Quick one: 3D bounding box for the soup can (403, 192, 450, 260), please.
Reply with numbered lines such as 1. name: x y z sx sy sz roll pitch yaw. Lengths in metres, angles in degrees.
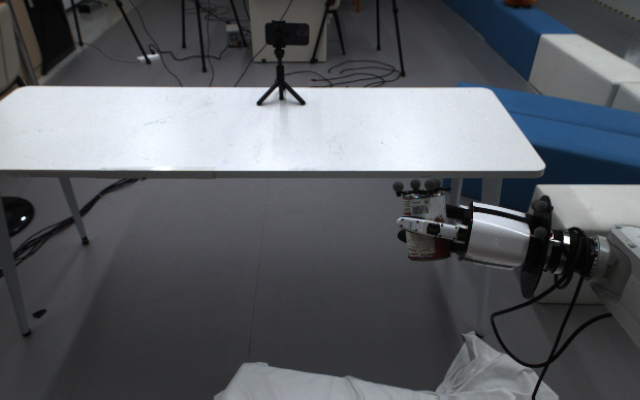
1. soup can: 0.170 0.040 0.769 0.067 0.101 0.067 -6 3 0
